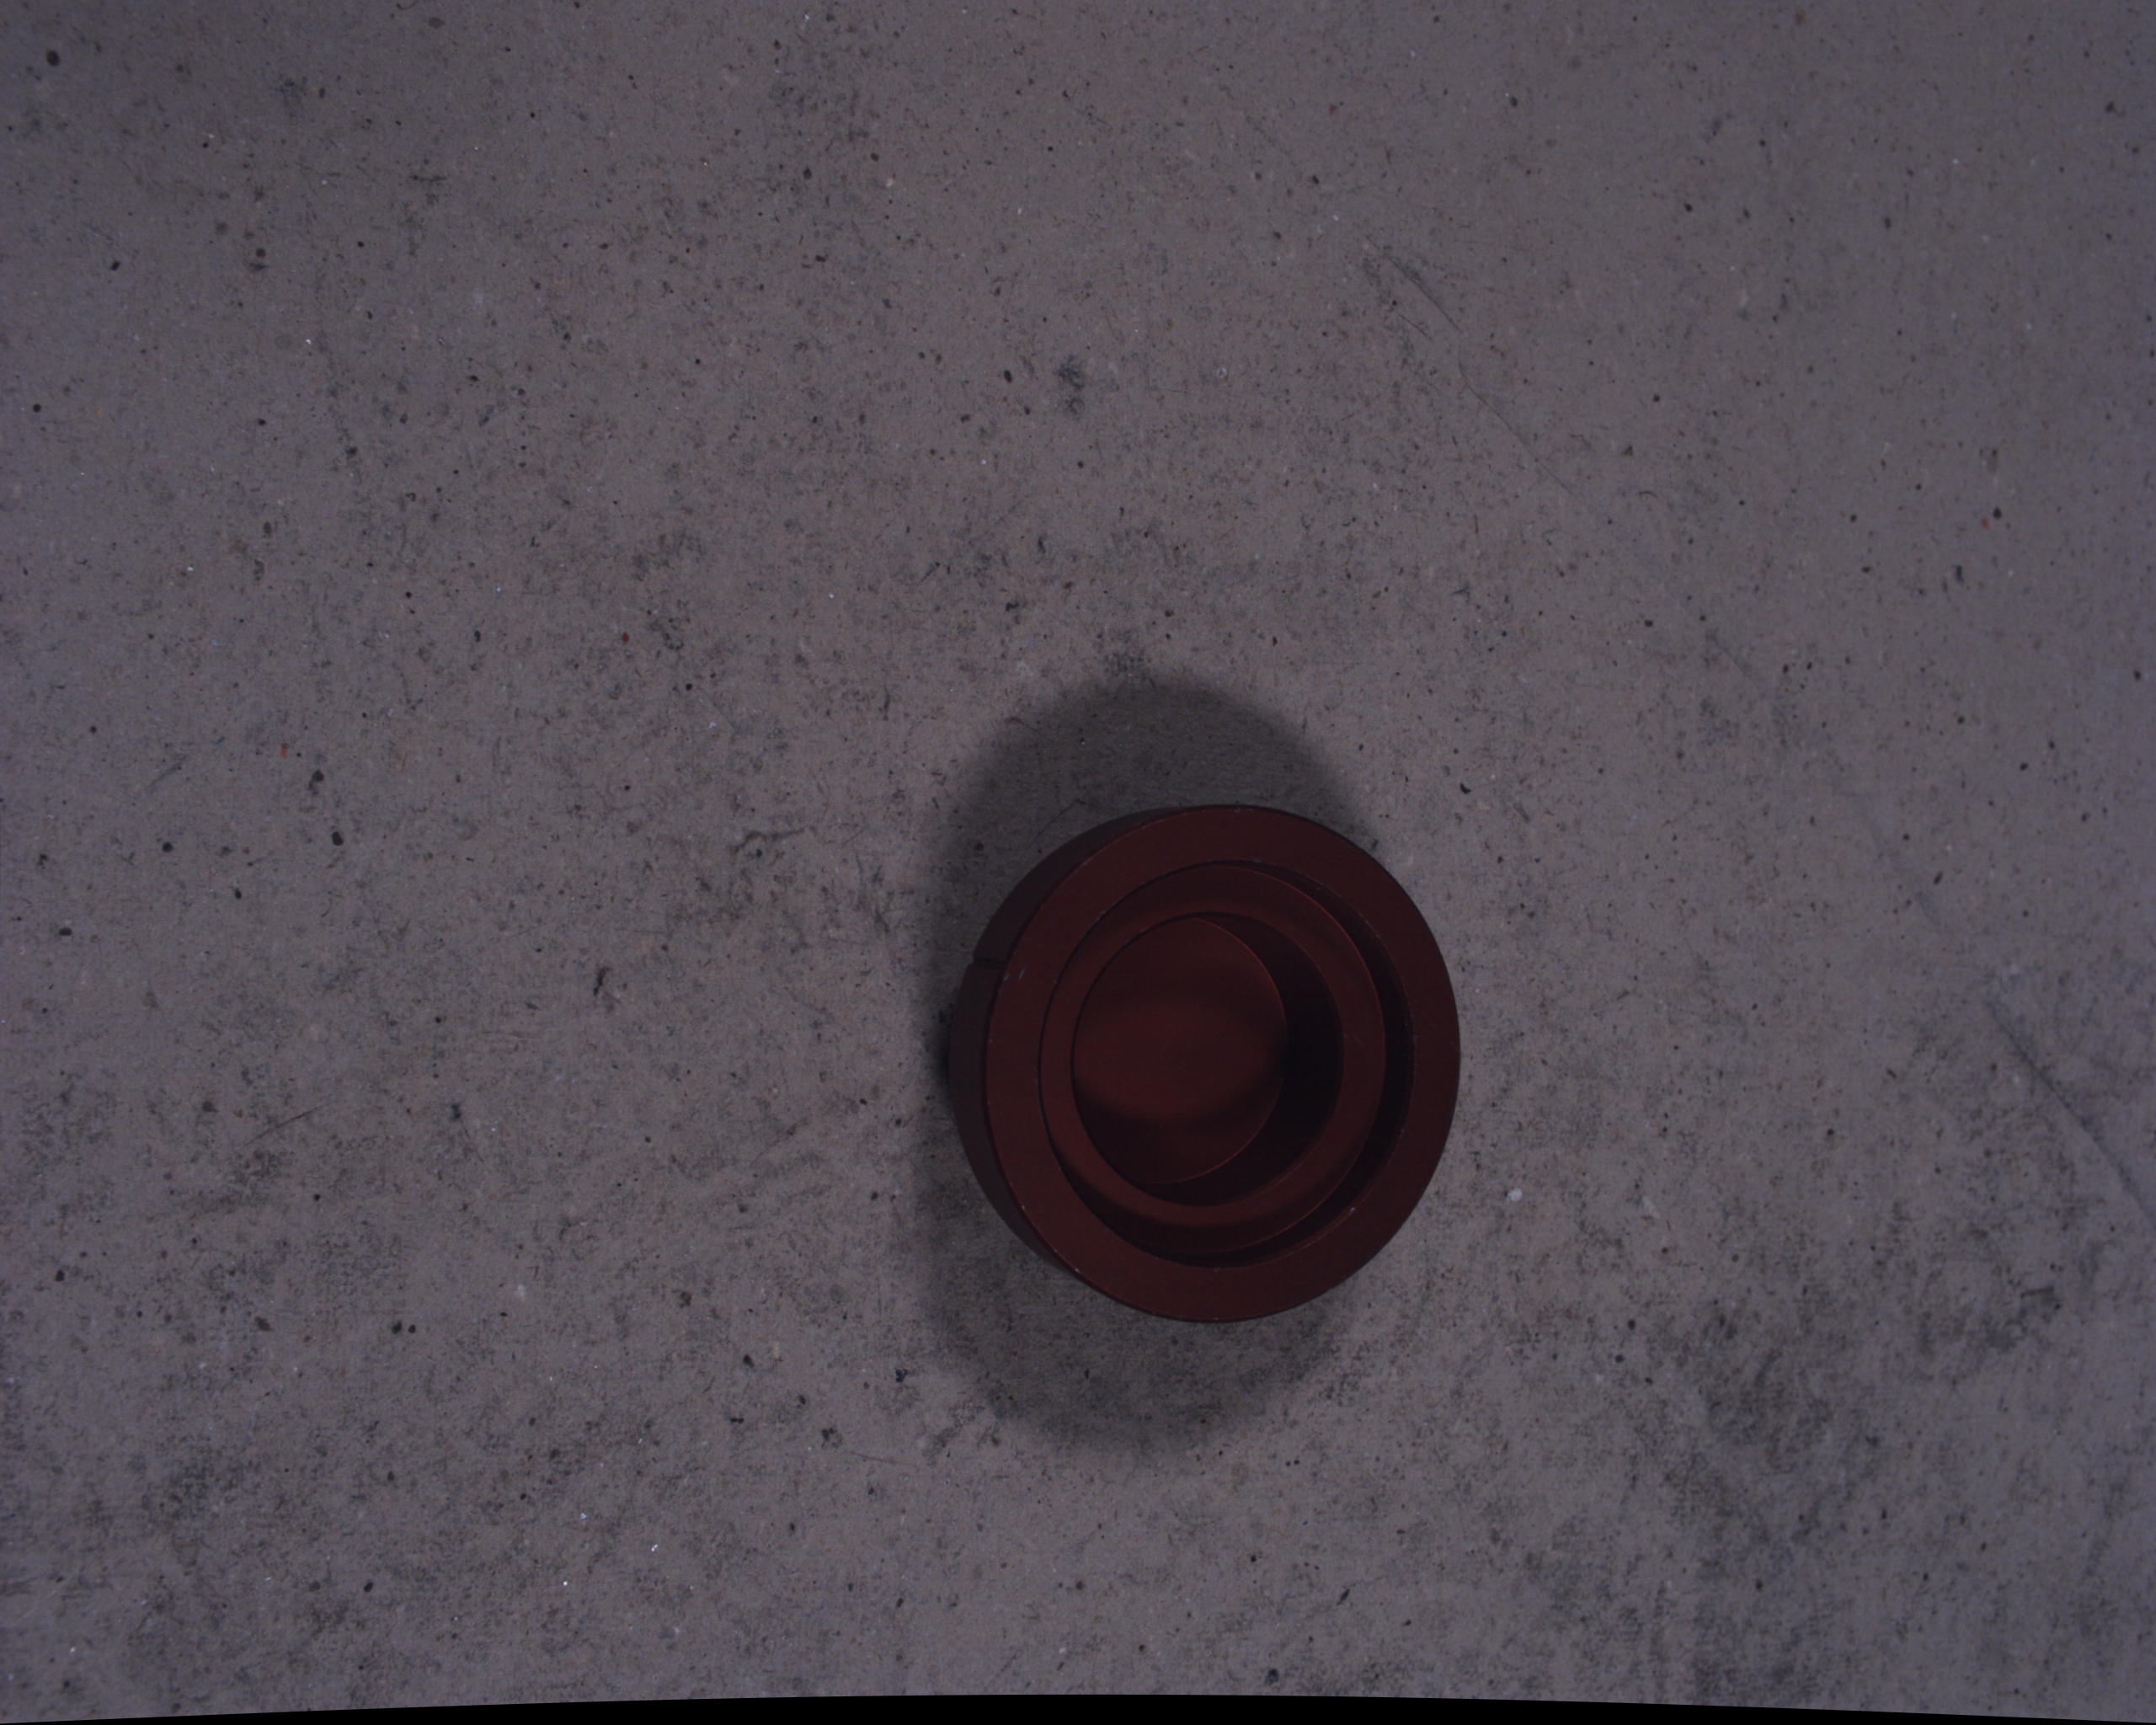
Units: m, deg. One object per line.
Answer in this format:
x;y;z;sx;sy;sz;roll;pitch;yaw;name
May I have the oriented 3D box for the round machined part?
0.021;0.037;0.410;0.099;0.042;0.097;0;90;-21;round machined part
